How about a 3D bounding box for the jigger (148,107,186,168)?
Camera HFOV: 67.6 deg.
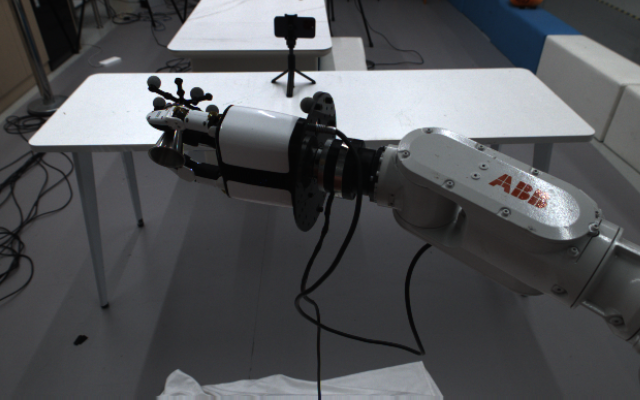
[{"bbox_3d":[-0.181,-0.082,0.593,0.043,0.043,0.071,4,61,2],"label":"jigger"}]
